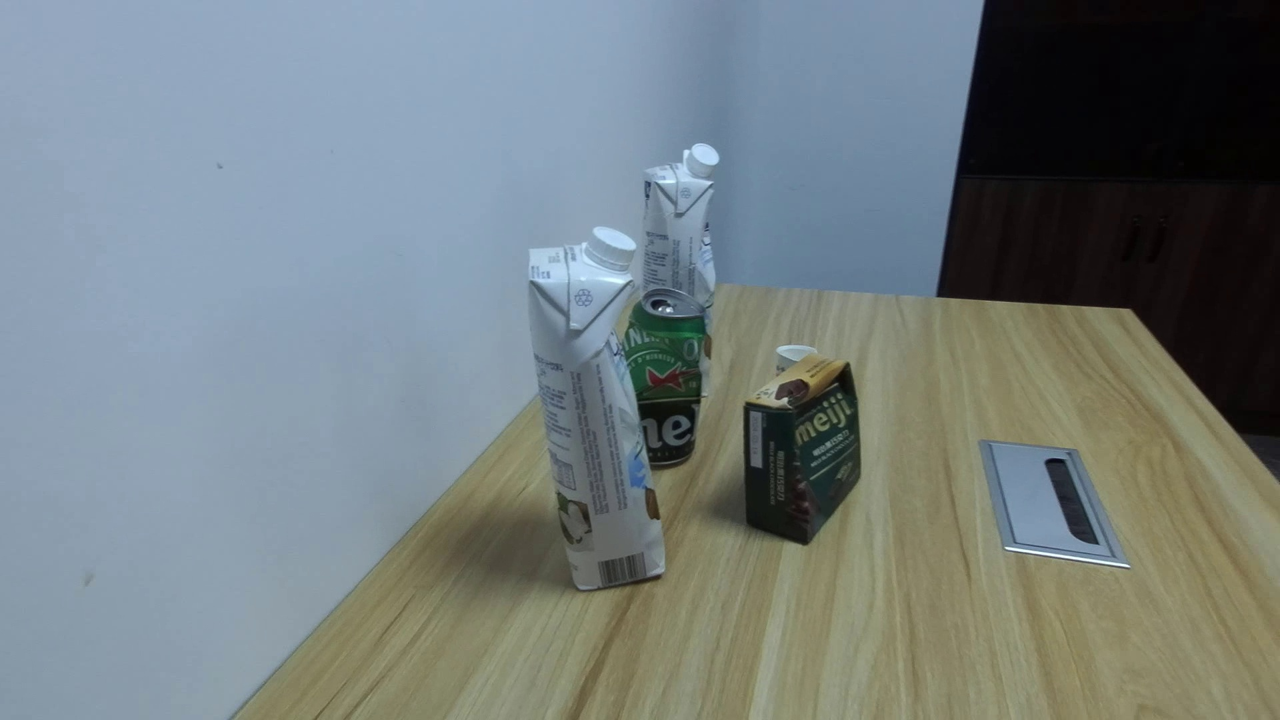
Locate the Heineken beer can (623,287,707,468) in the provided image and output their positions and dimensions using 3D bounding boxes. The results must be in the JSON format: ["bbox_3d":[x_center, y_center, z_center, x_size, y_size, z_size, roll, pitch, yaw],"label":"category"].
[{"bbox_3d":[0.017,0.018,0.616,0.078,0.159,0.067,11,30,13],"label":"Heineken beer can"}]

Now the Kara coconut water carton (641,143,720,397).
[{"bbox_3d":[0.037,-0.086,0.718,0.078,0.255,0.083,4,25,9],"label":"Kara coconut water carton"}]

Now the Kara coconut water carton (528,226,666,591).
[{"bbox_3d":[-0.028,0.034,0.476,0.071,0.244,0.099,-7,28,-6],"label":"Kara coconut water carton"}]

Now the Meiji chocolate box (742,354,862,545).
[{"bbox_3d":[0.129,0.067,0.560,0.058,0.111,0.113,6,22,32],"label":"Meiji chocolate box"}]
